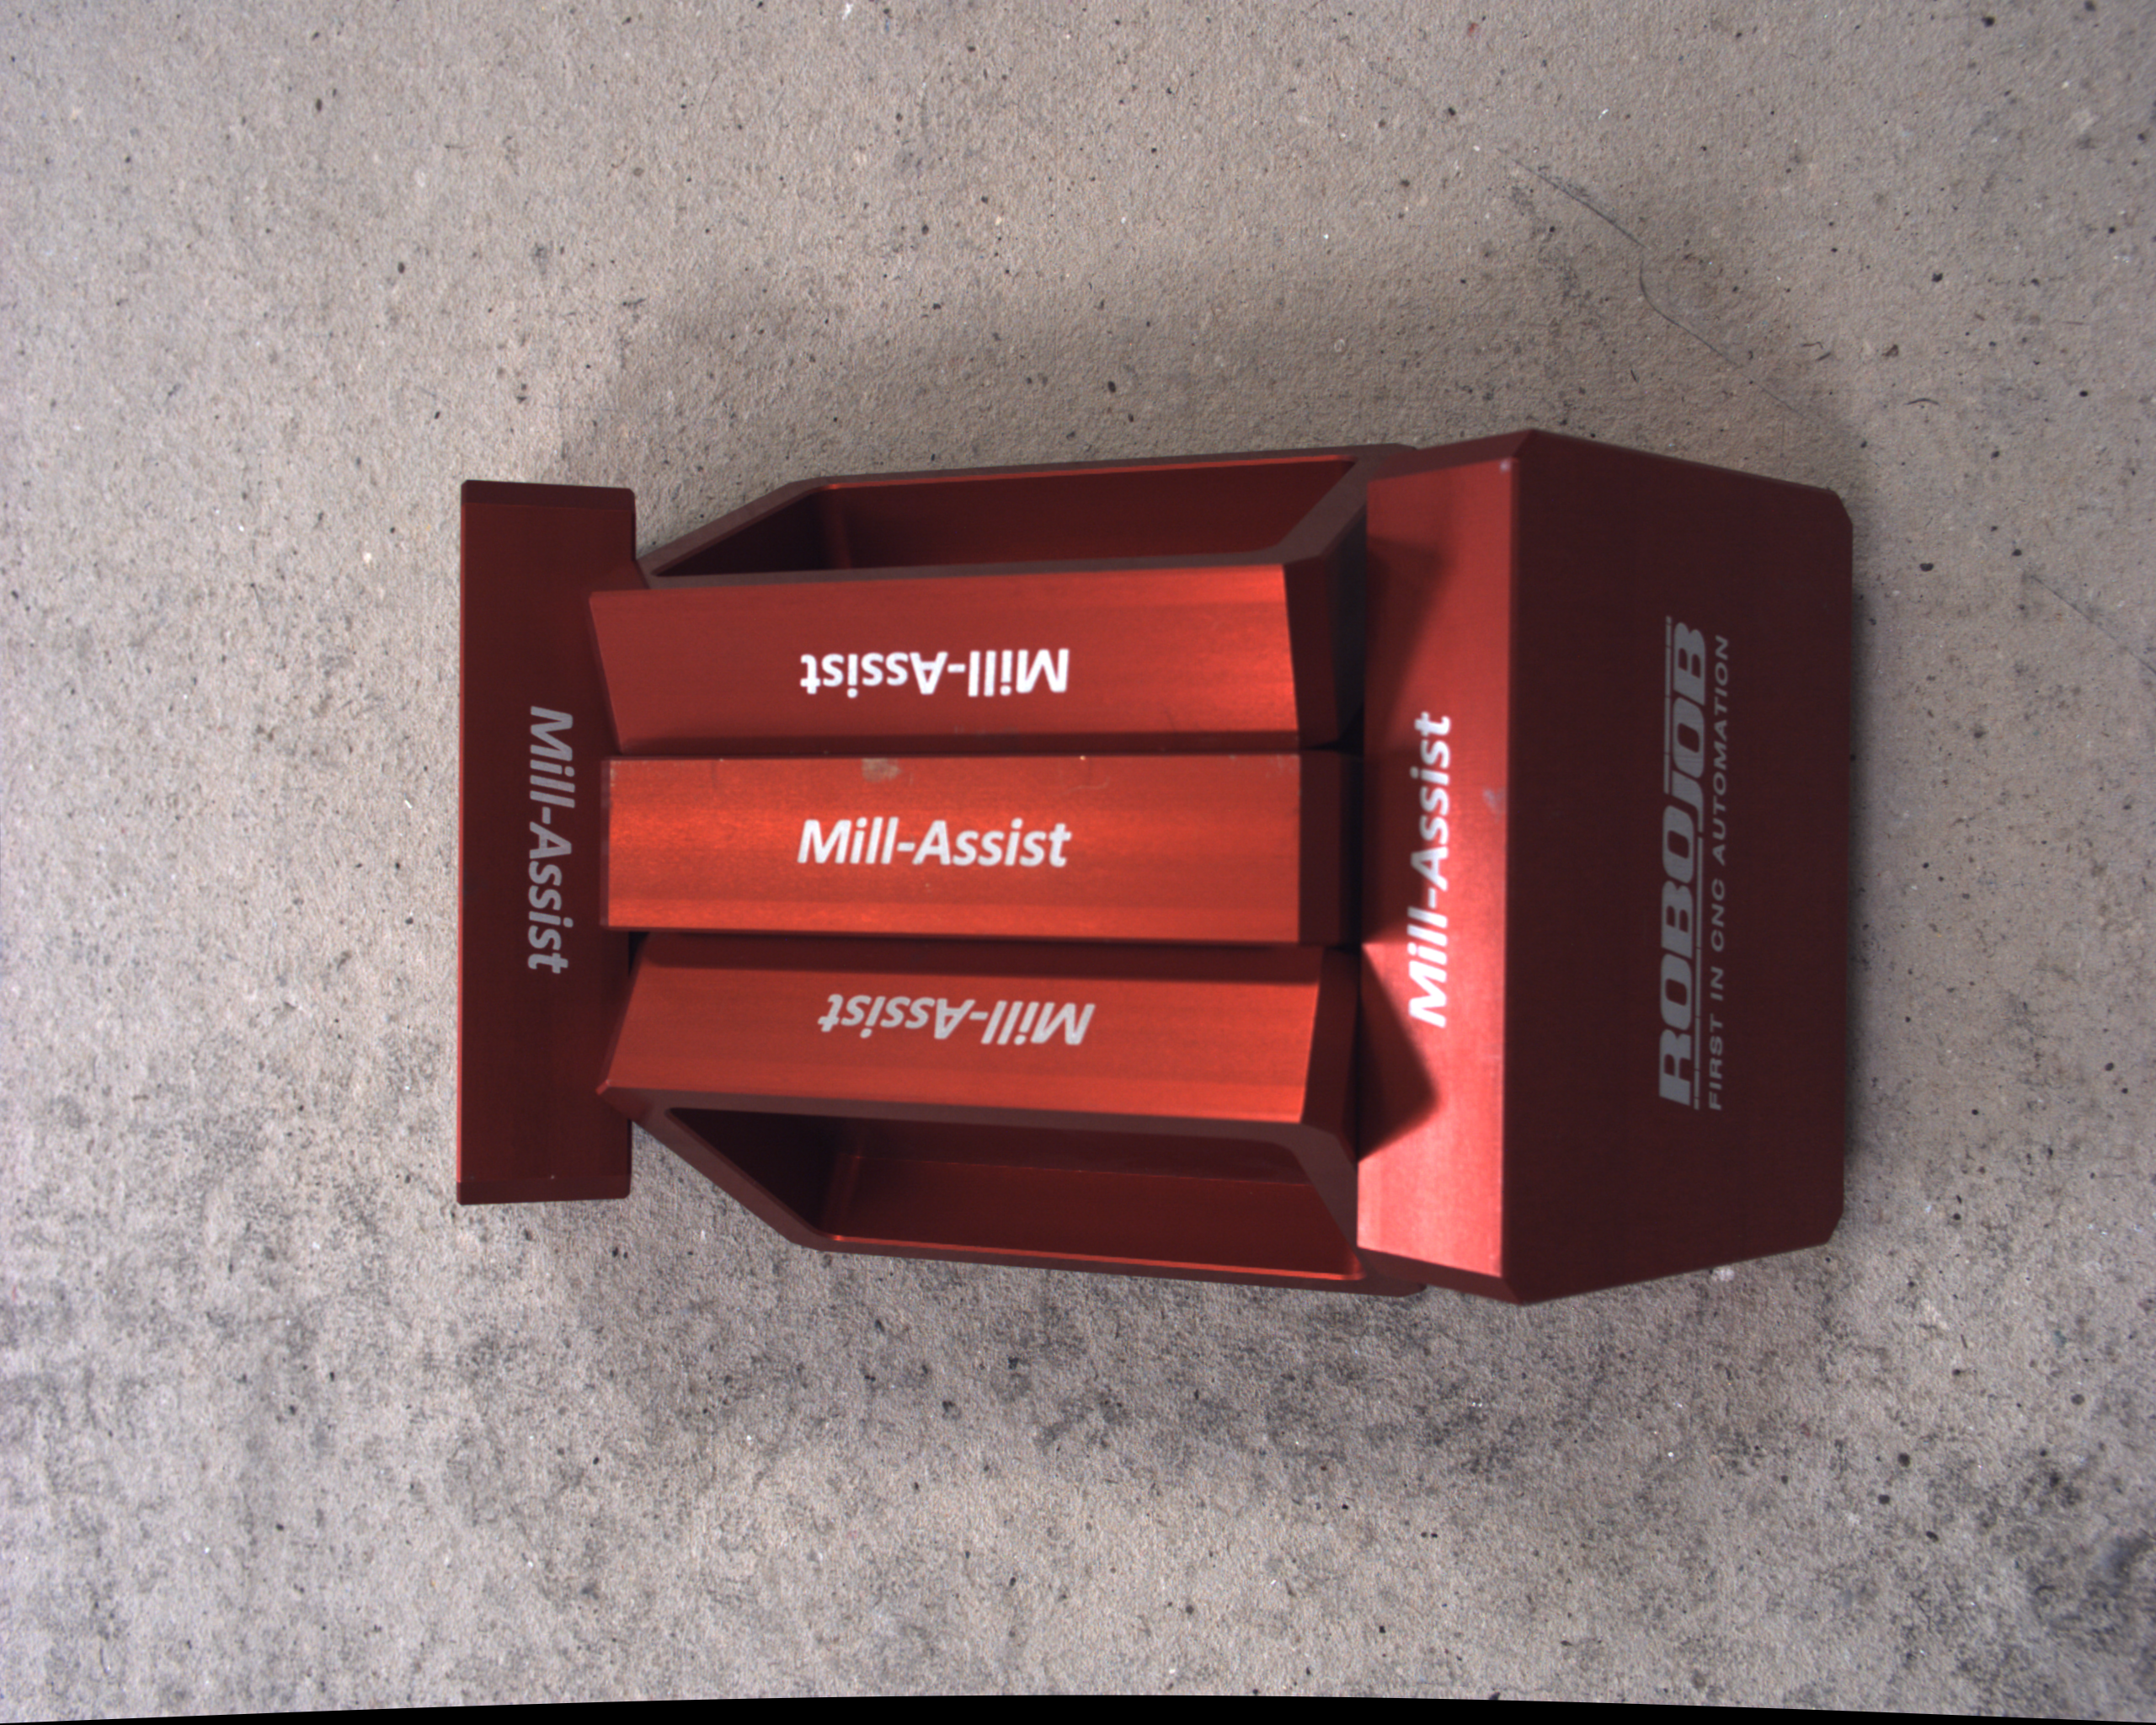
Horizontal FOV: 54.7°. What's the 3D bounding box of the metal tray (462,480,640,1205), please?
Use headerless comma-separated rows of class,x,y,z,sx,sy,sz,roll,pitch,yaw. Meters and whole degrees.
metal tray,-0.106,-0.004,0.414,0.030,0.090,0.129,0,90,-16

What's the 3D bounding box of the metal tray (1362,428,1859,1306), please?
metal tray,0.089,0.001,0.343,0.030,0.091,0.129,1,90,51

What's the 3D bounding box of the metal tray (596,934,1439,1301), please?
metal tray,-0.007,0.047,0.377,0.130,0.090,0.030,1,61,20

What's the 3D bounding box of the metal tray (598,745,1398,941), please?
metal tray,-0.008,-0.004,0.378,0.130,0.090,0.030,0,90,19

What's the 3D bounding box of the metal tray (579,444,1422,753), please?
metal tray,-0.010,-0.049,0.376,0.130,0.090,0.030,1,112,20
